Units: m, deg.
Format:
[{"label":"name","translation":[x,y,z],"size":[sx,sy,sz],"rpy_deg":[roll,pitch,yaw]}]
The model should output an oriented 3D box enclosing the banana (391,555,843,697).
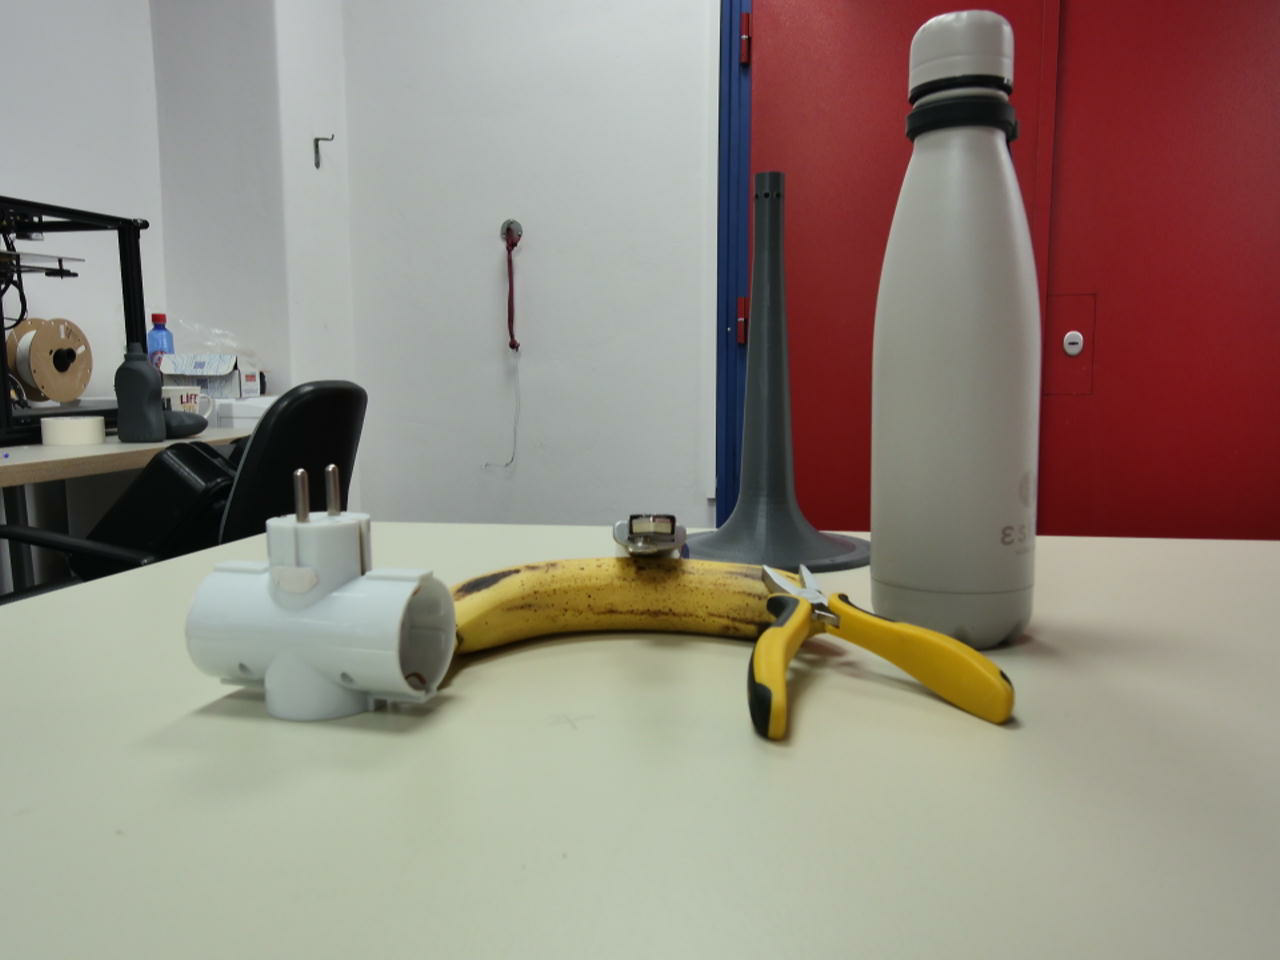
[{"label":"banana","translation":[-0.012,0.058,0.452],"size":[0.186,0.038,0.097],"rpy_deg":[-1,4,-15]}]
